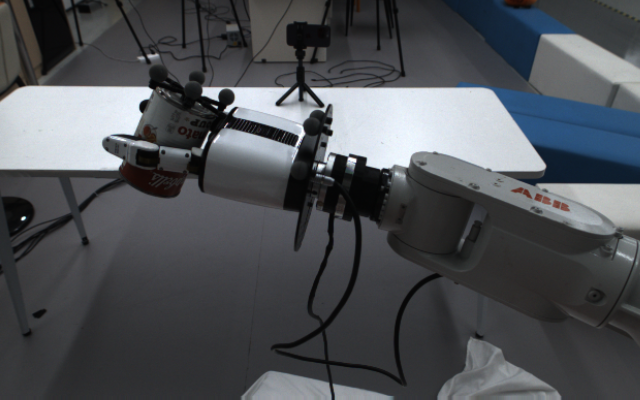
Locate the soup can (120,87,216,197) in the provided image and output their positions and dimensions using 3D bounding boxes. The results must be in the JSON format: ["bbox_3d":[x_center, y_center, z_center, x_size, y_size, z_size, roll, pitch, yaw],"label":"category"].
[{"bbox_3d":[-0.159,-0.060,0.508,0.067,0.101,0.067,28,18,-10],"label":"soup can"}]
